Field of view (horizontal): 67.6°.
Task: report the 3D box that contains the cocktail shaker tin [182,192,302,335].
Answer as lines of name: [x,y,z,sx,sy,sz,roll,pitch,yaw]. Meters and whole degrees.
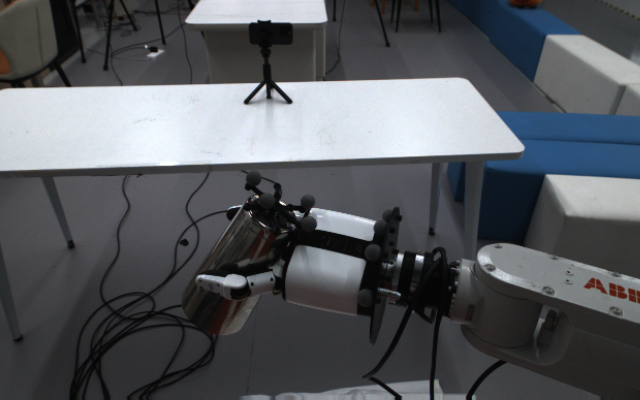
cocktail shaker tin: [-0.094,0.071,0.588,0.093,0.170,0.093,26,32,-18]
